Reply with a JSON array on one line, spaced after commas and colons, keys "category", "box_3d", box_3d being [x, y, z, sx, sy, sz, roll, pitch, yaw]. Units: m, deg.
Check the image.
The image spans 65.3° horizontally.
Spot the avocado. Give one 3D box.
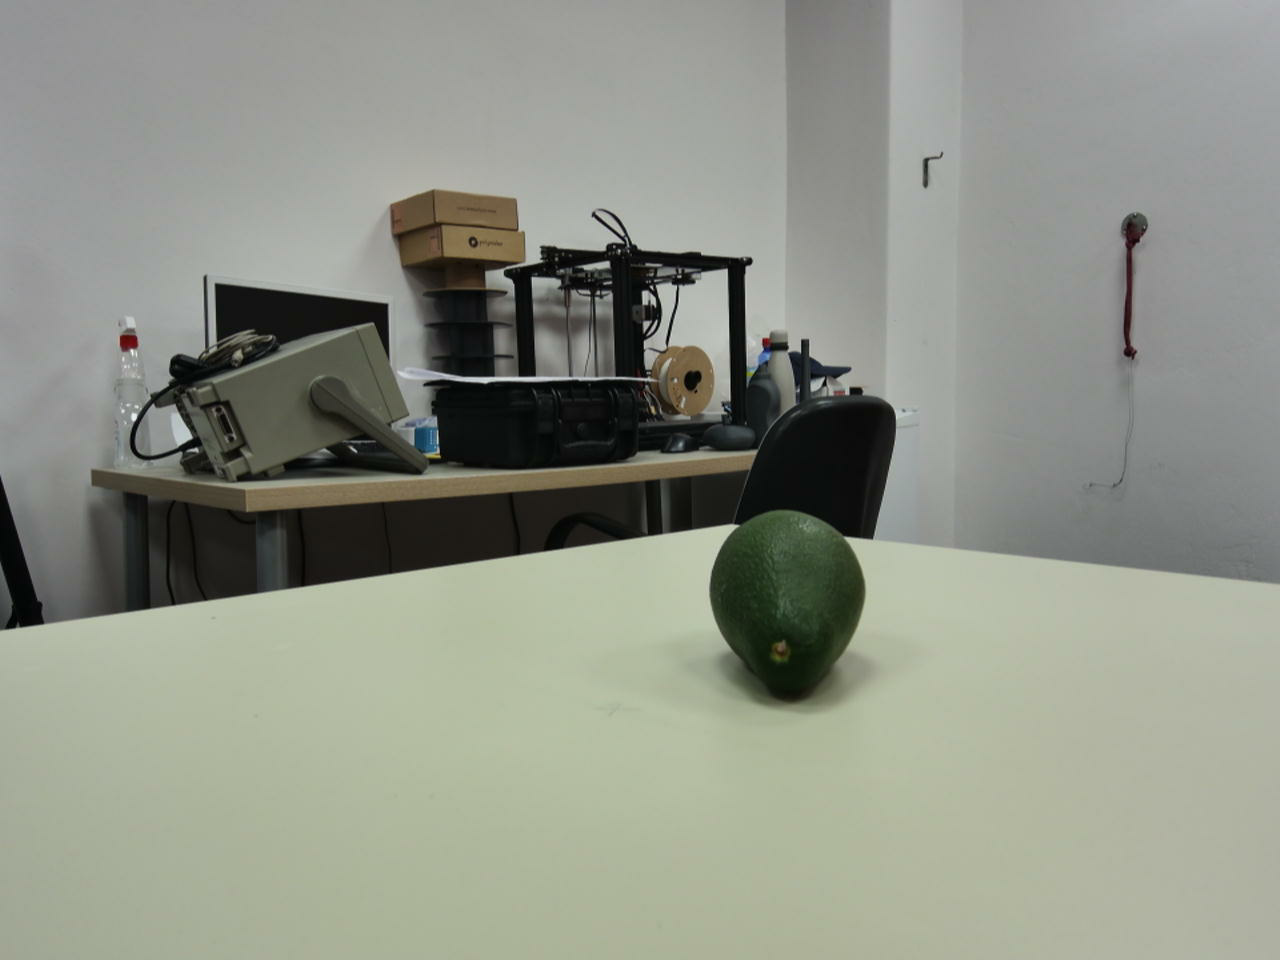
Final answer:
[{"category": "avocado", "box_3d": [0.062, 0.051, 0.449, 0.073, 0.071, 0.109, 1, 3, 27]}]
